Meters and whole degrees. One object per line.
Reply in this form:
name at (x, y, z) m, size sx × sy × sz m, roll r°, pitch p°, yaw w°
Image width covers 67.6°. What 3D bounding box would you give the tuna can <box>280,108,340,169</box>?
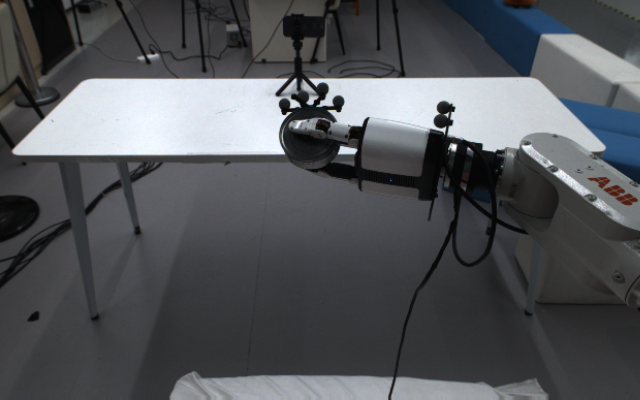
tuna can at (-0.012, -0.084, 0.687) m, size 0.085 × 0.034 × 0.085 m, roll -2°, pitch 69°, yaw 6°
